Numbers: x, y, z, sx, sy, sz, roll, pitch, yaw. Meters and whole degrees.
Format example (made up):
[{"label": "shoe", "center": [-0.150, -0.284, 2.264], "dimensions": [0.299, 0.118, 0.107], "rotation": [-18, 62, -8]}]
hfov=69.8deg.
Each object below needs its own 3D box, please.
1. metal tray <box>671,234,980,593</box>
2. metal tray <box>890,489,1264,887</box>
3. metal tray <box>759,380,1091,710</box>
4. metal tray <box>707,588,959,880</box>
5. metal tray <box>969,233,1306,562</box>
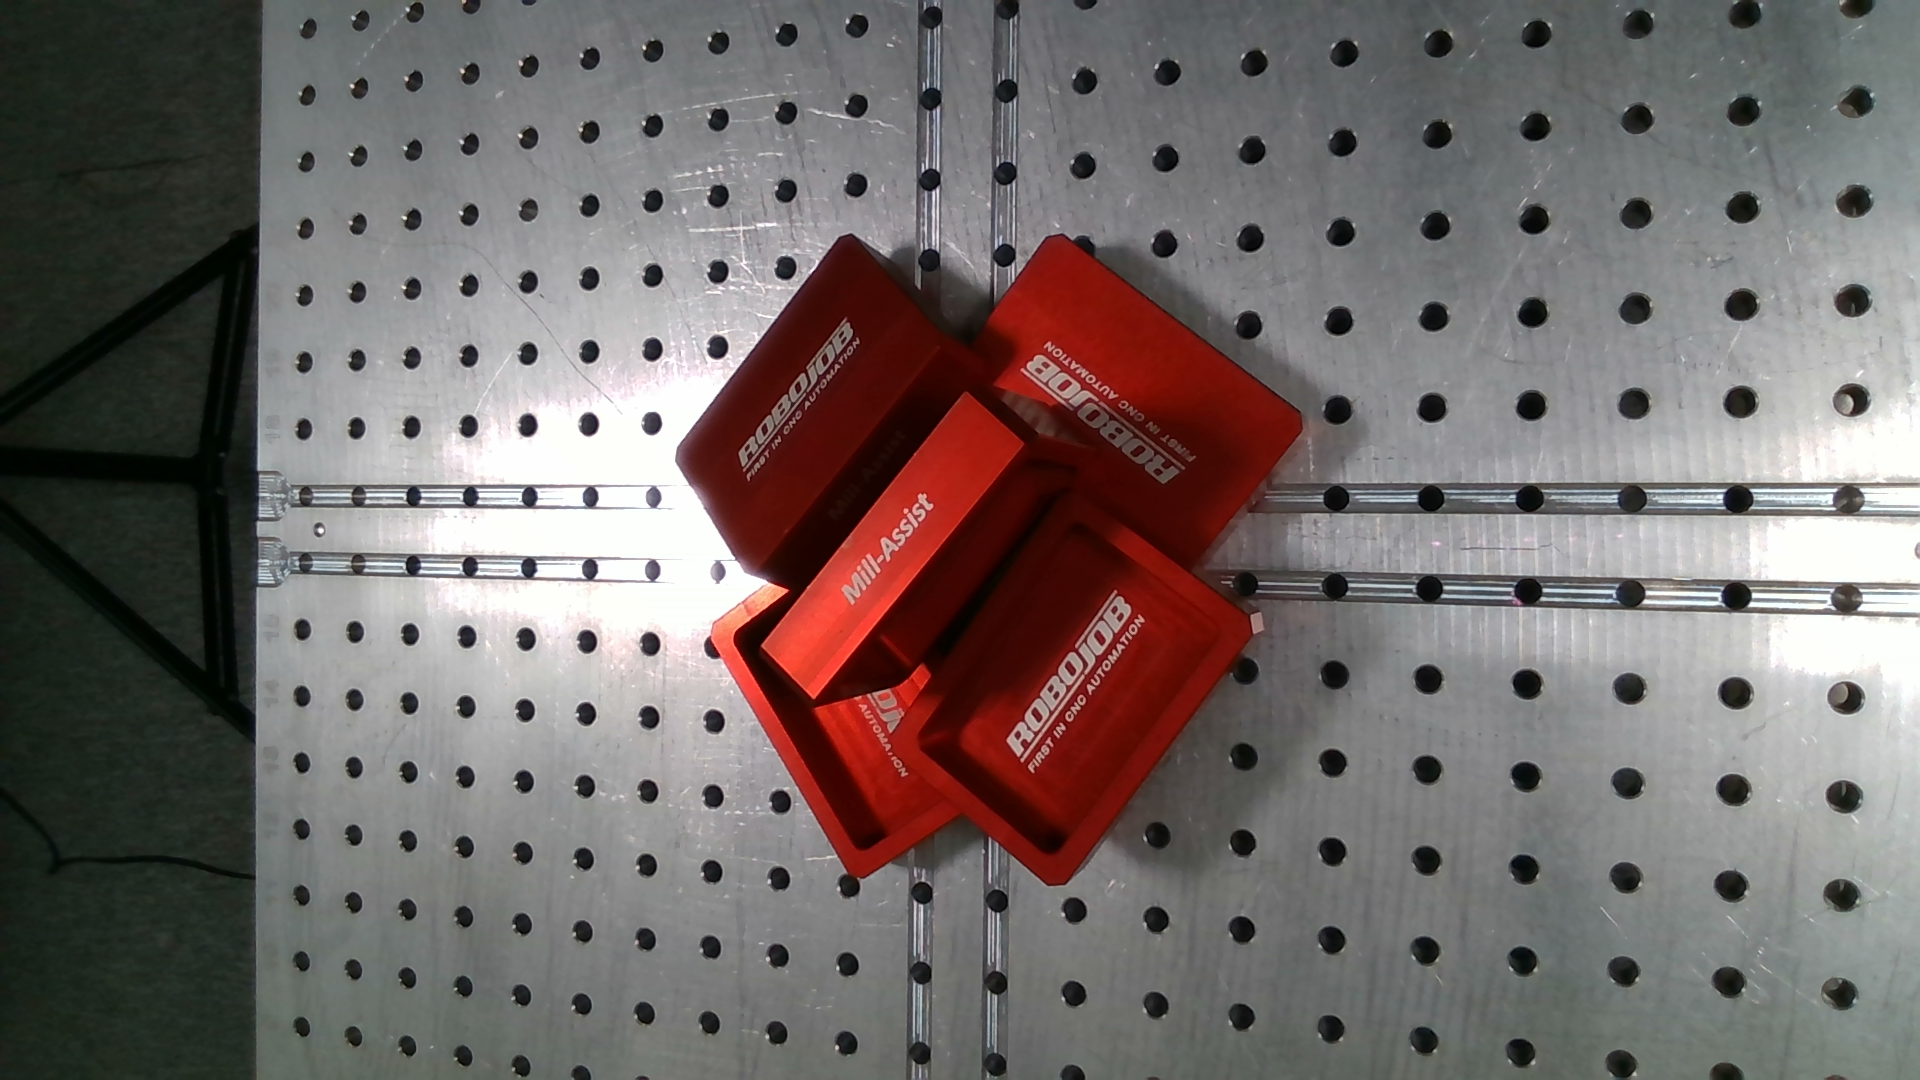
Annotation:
[{"label": "metal tray", "center": [-0.061, -0.054, 0.587], "dimensions": [0.130, 0.030, 0.090], "rotation": [-50, 50, 14]}, {"label": "metal tray", "center": [0.044, 0.057, 0.537], "dimensions": [0.090, 0.030, 0.130], "rotation": [38, 103, 16]}, {"label": "metal tray", "center": [-0.010, 0.003, 0.524], "dimensions": [0.030, 0.090, 0.130], "rotation": [43, 104, 15]}, {"label": "metal tray", "center": [-0.041, 0.069, 0.600], "dimensions": [0.090, 0.030, 0.130], "rotation": [-36, 79, 17]}, {"label": "metal tray", "center": [0.063, -0.051, 0.560], "dimensions": [0.130, 0.030, 0.090], "rotation": [40, 103, 15]}]
